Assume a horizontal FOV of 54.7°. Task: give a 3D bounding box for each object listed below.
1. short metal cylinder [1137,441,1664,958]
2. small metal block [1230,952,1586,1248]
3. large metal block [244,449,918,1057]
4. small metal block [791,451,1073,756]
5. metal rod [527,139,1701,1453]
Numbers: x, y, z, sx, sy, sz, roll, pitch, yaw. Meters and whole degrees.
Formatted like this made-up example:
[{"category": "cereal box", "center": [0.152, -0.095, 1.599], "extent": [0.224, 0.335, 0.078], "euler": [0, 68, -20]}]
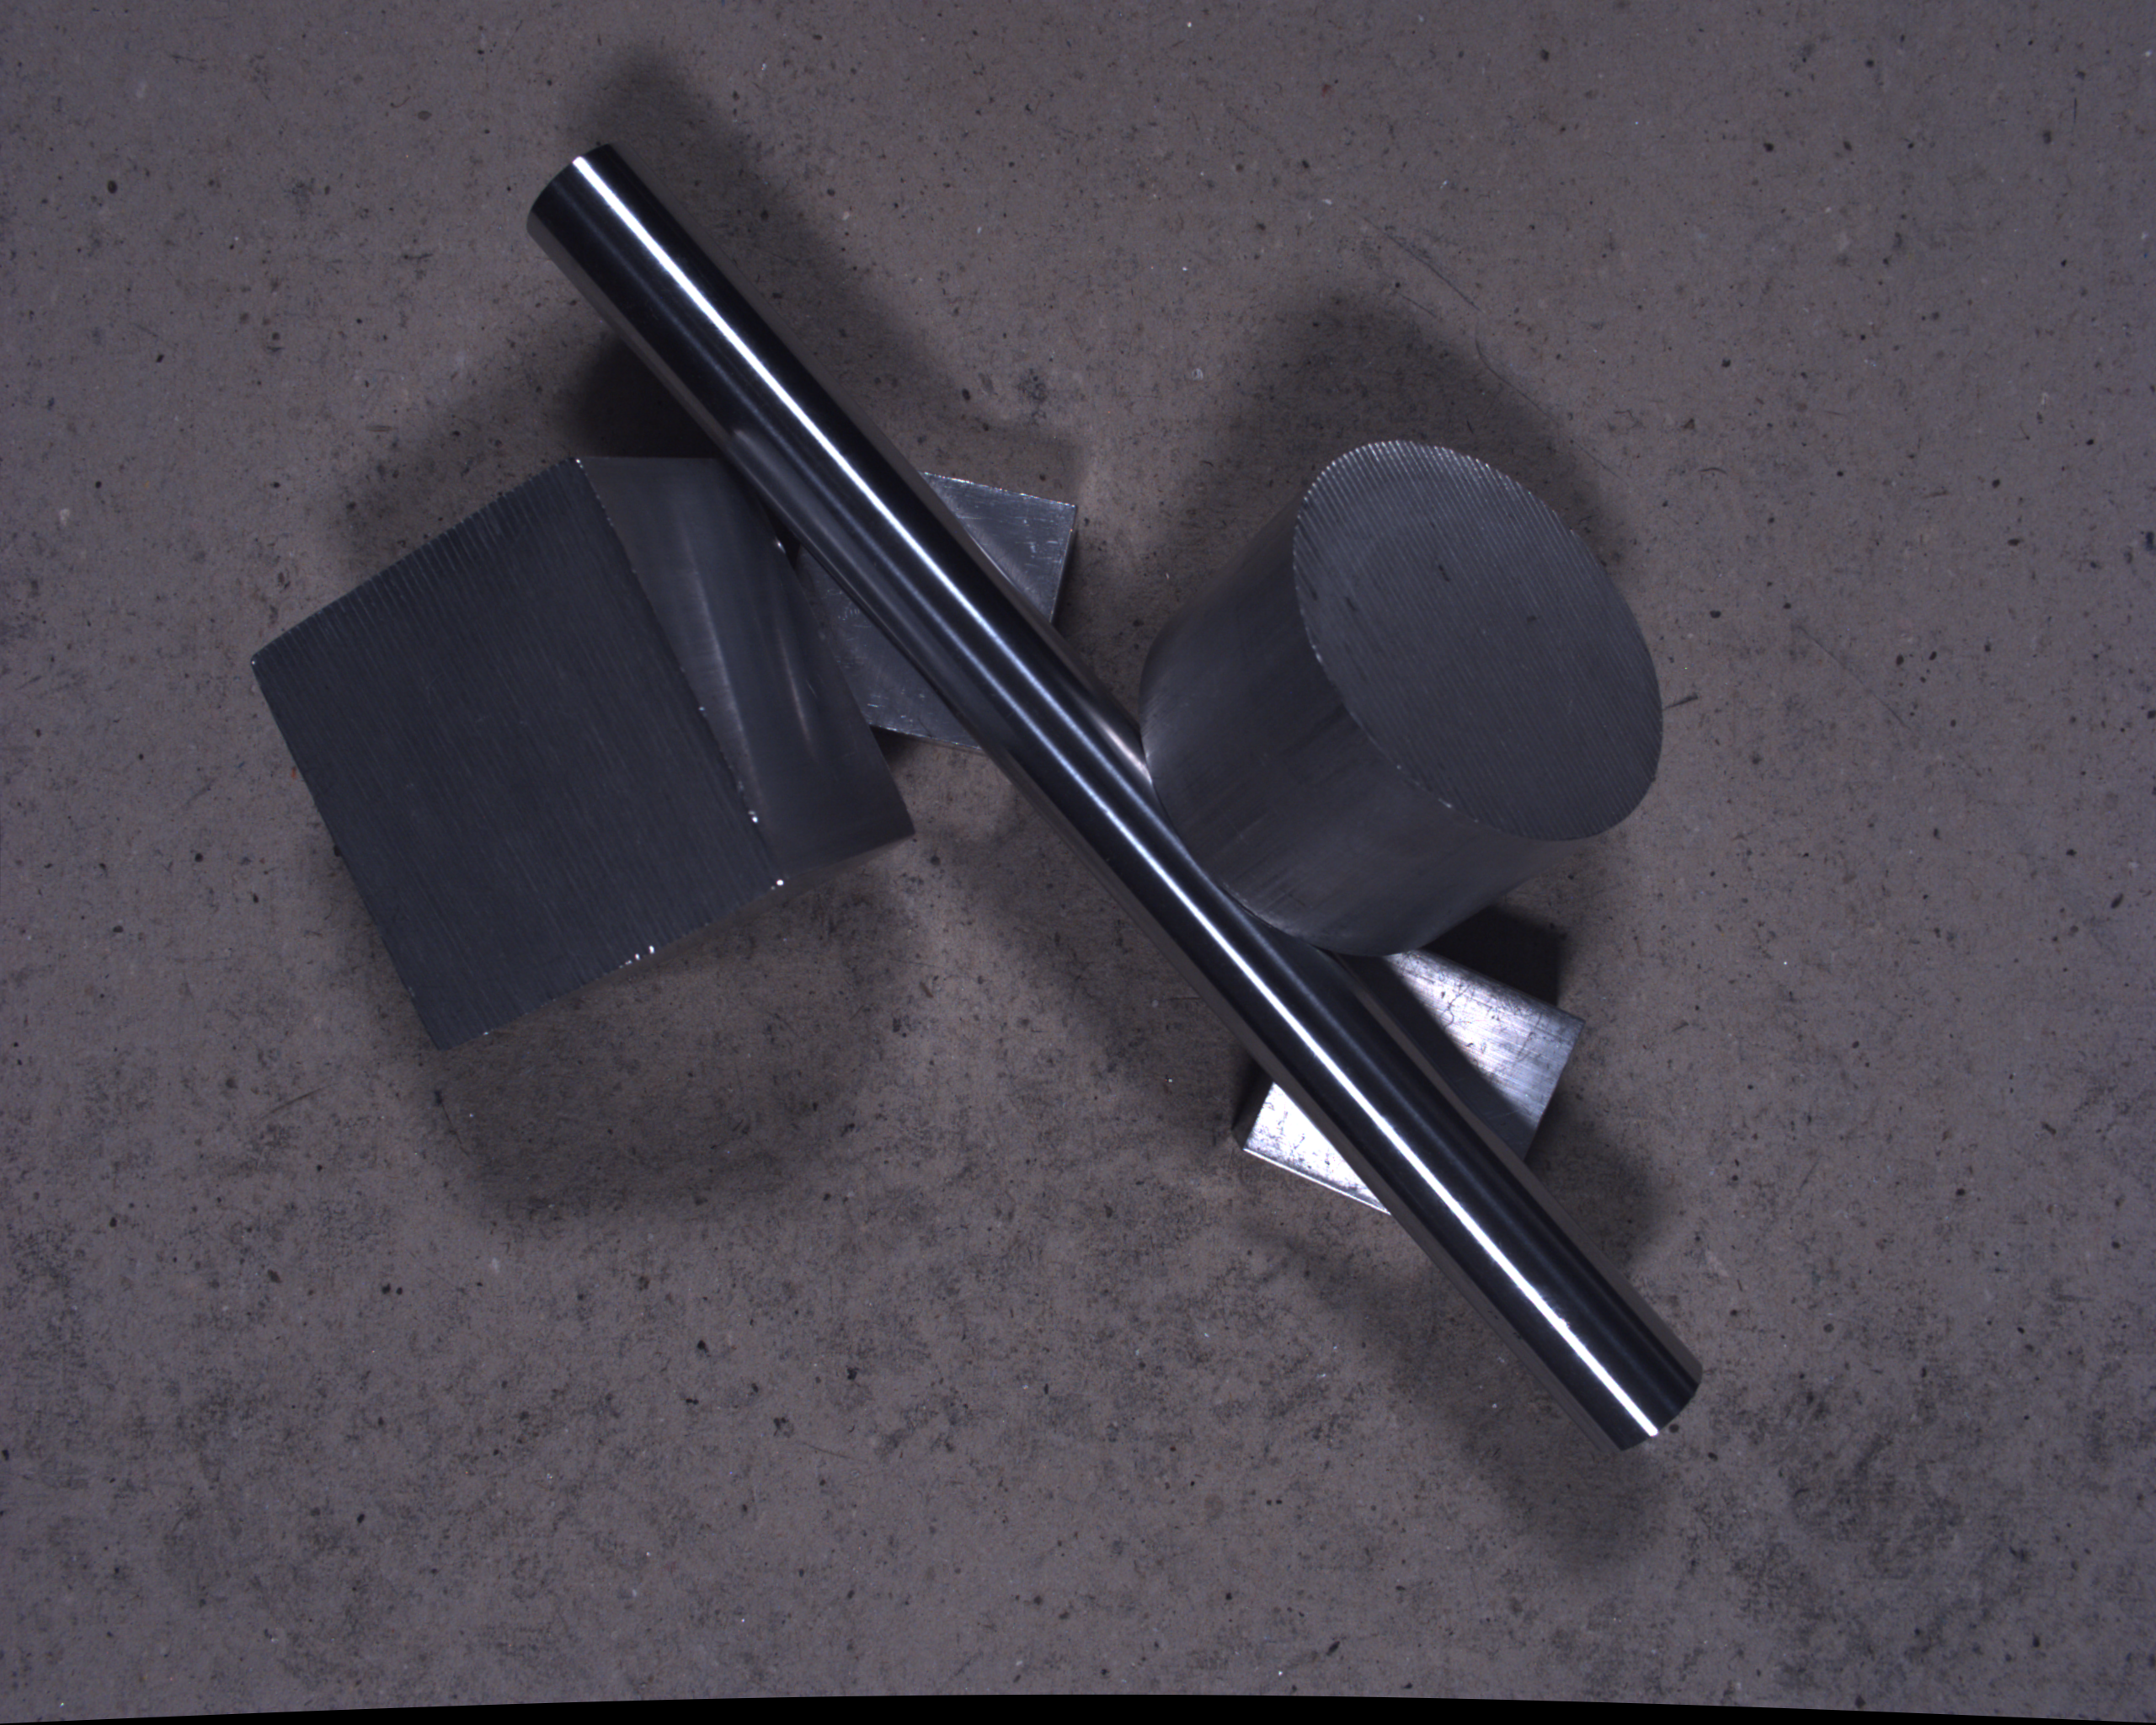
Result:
[{"category": "short metal cylinder", "center": [0.058, -0.029, 0.379], "extent": [0.081, 0.050, 0.080], "euler": [16, 57, -25]}, {"category": "small metal block", "center": [0.064, 0.042, 0.412], "extent": [0.050, 0.025, 0.050], "euler": [24, 90, -1]}, {"category": "large metal block", "center": [-0.090, -0.021, 0.381], "extent": [0.080, 0.050, 0.080], "euler": [-25, 91, 23]}, {"category": "small metal block", "center": [-0.031, -0.049, 0.411], "extent": [0.050, 0.025, 0.050], "euler": [12, 90, -1]}, {"category": "metal rod", "center": [0.007, -0.012, 0.386], "extent": [0.025, 0.025, 0.300], "euler": [-41, 91, 0]}]
